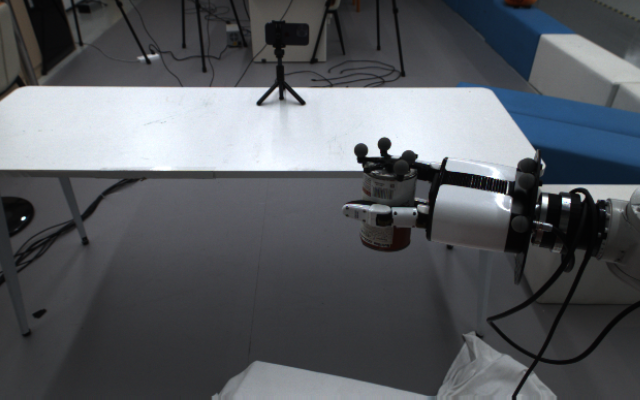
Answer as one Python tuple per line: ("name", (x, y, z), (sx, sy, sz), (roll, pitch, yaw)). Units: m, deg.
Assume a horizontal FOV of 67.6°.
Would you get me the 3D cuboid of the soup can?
("soup can", (0.087, 0.005, 0.615), (0.067, 0.101, 0.067), (1, 26, 0))
